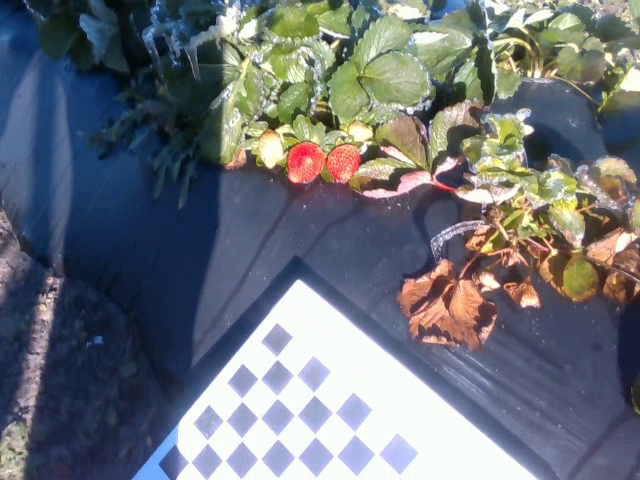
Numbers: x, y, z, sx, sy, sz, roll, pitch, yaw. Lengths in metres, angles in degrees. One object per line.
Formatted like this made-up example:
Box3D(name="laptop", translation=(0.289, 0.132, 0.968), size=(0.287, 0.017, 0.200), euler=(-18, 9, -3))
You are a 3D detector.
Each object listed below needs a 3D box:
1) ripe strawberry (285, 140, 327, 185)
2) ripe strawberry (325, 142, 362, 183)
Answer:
Box3D(name="ripe strawberry", translation=(-0.015, -0.066, 0.576), size=(0.036, 0.040, 0.052), euler=(-4, 34, 22))
Box3D(name="ripe strawberry", translation=(0.024, -0.070, 0.580), size=(0.036, 0.041, 0.030), euler=(-28, -32, 13))
